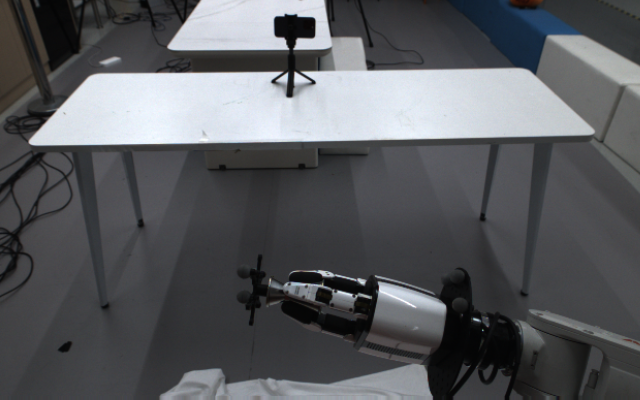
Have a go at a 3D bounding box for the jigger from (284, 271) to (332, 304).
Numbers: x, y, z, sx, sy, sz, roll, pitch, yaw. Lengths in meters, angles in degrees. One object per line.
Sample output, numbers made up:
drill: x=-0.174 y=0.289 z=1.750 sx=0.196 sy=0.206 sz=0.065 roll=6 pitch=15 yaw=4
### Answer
jigger: x=-0.023 y=0.114 z=0.613 sx=0.071 sy=0.043 sz=0.043 roll=5 pitch=35 yaw=3
